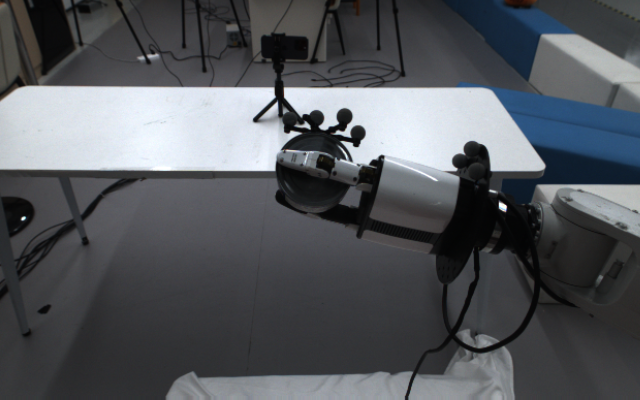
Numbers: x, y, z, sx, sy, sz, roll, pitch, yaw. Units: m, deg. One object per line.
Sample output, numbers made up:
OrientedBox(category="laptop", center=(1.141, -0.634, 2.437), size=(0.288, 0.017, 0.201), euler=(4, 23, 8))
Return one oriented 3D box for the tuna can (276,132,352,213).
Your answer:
OrientedBox(category="tuna can", center=(-0.006, -0.032, 0.539), size=(0.085, 0.034, 0.085), euler=(1, 73, -3))
